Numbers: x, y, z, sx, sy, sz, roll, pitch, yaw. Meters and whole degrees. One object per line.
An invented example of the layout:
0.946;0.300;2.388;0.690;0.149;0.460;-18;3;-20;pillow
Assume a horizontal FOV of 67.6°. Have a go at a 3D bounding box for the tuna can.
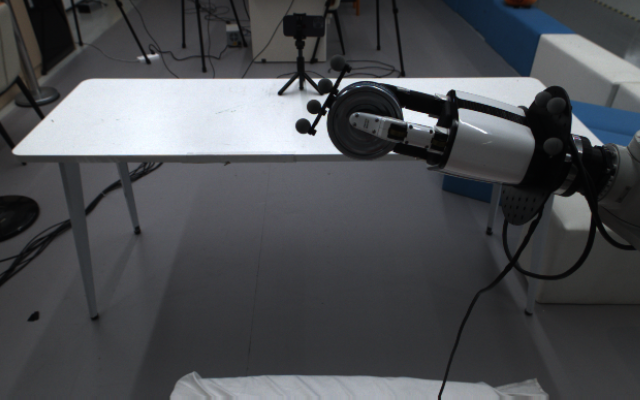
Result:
0.053;-0.092;0.549;0.085;0.085;0.034;3;20;1;tuna can
